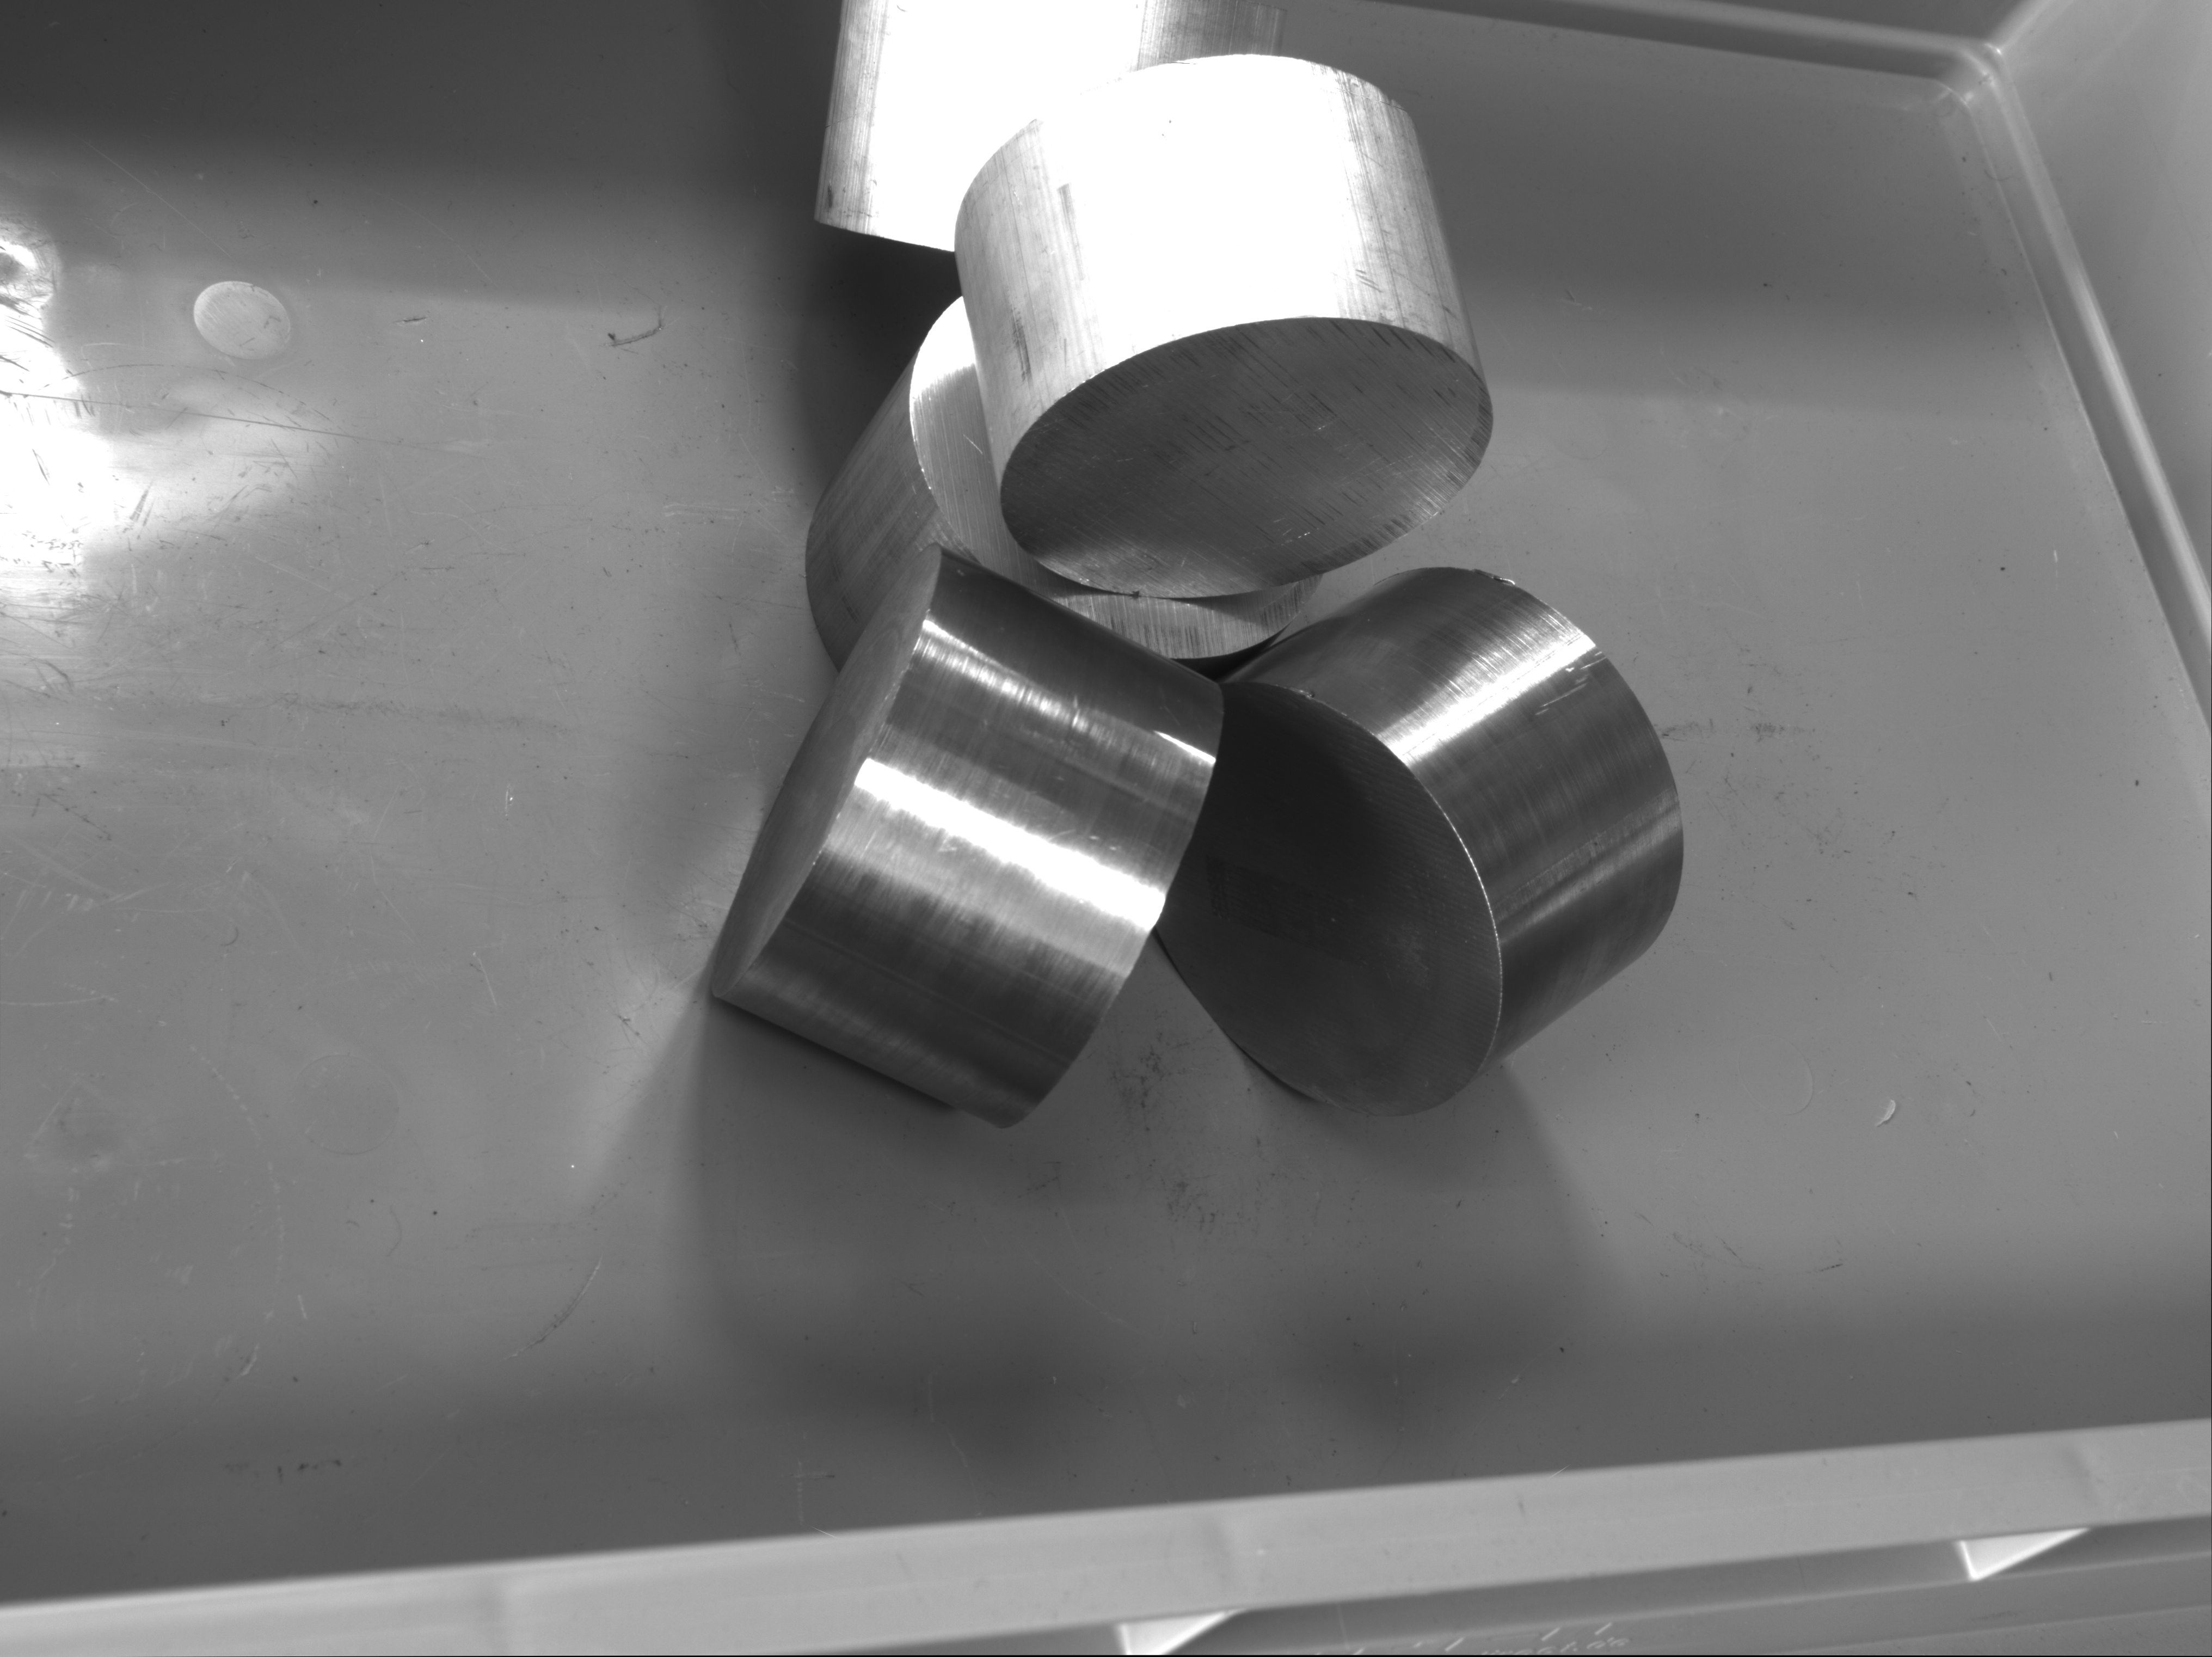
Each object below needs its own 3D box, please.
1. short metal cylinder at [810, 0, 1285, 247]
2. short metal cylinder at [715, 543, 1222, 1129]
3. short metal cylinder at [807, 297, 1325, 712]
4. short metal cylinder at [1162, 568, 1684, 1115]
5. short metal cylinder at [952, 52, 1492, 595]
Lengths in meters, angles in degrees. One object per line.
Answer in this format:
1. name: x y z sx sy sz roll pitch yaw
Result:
1. short metal cylinder: -0.011 -0.130 0.668 0.080 0.080 0.050 4 102 -26
2. short metal cylinder: -0.023 0.001 0.589 0.050 0.080 0.080 26 53 -12
3. short metal cylinder: -0.006 -0.052 0.648 0.080 0.050 0.080 14 56 -21
4. short metal cylinder: 0.051 0.002 0.628 0.050 0.080 0.080 -32 80 -37
5. short metal cylinder: 0.018 -0.080 0.596 0.080 0.080 0.050 3 60 -26
